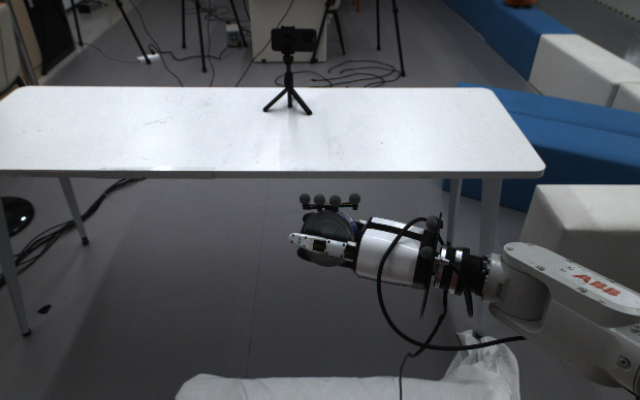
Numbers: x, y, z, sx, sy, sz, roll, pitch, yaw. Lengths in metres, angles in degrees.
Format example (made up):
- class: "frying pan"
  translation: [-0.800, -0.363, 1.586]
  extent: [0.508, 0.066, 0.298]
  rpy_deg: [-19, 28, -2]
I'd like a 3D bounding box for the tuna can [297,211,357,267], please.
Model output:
- class: "tuna can"
  translation: [0.016, 0.056, 0.737]
  extent: [0.085, 0.085, 0.034]
  rpy_deg: [15, 10, 18]
